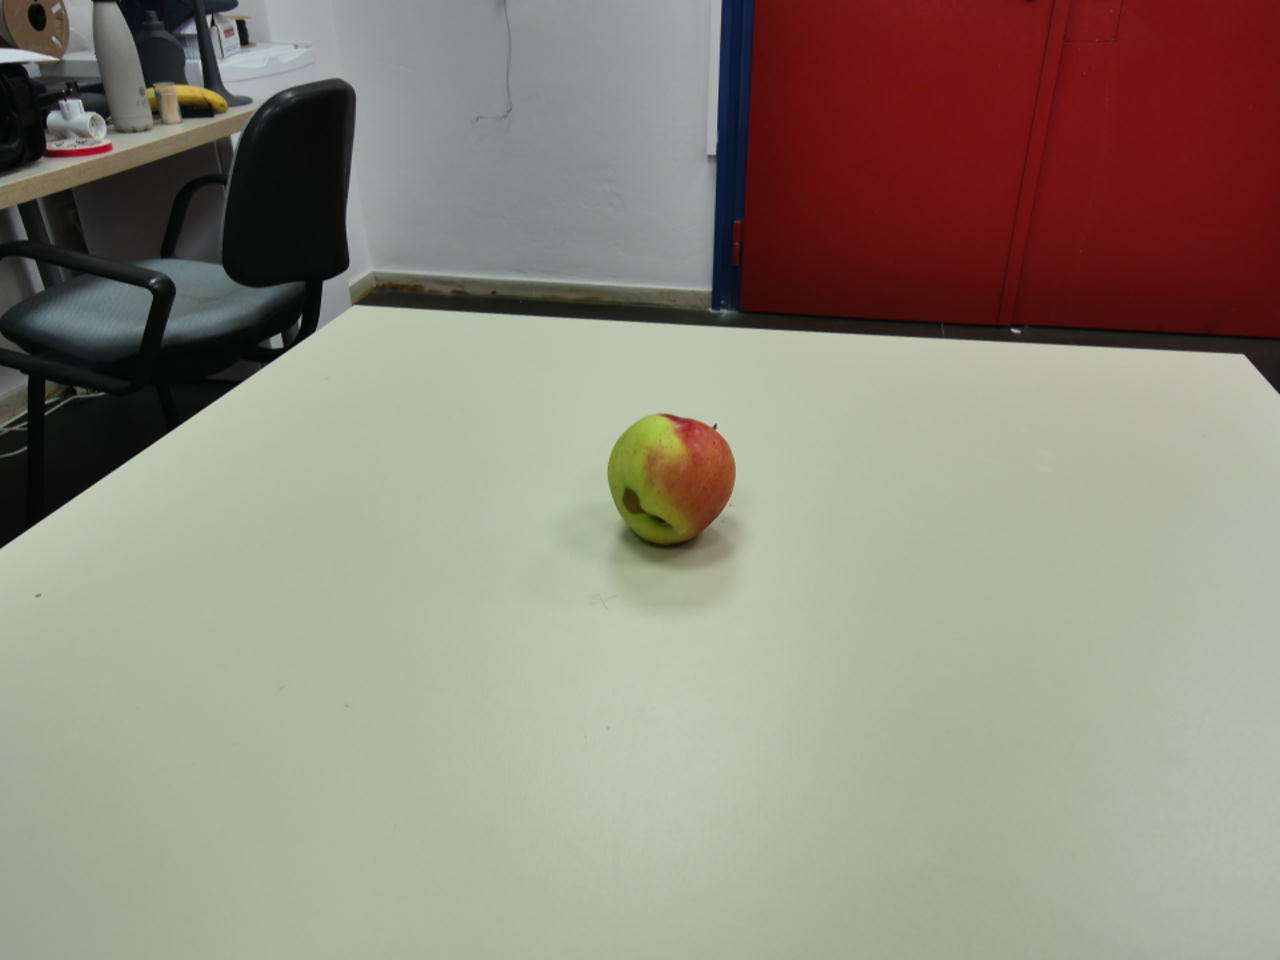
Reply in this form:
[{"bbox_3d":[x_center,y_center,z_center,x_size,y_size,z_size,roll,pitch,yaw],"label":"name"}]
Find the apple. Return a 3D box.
[{"bbox_3d":[0.019,-0.001,0.583,0.075,0.074,0.075,-3,26,-7],"label":"apple"}]
